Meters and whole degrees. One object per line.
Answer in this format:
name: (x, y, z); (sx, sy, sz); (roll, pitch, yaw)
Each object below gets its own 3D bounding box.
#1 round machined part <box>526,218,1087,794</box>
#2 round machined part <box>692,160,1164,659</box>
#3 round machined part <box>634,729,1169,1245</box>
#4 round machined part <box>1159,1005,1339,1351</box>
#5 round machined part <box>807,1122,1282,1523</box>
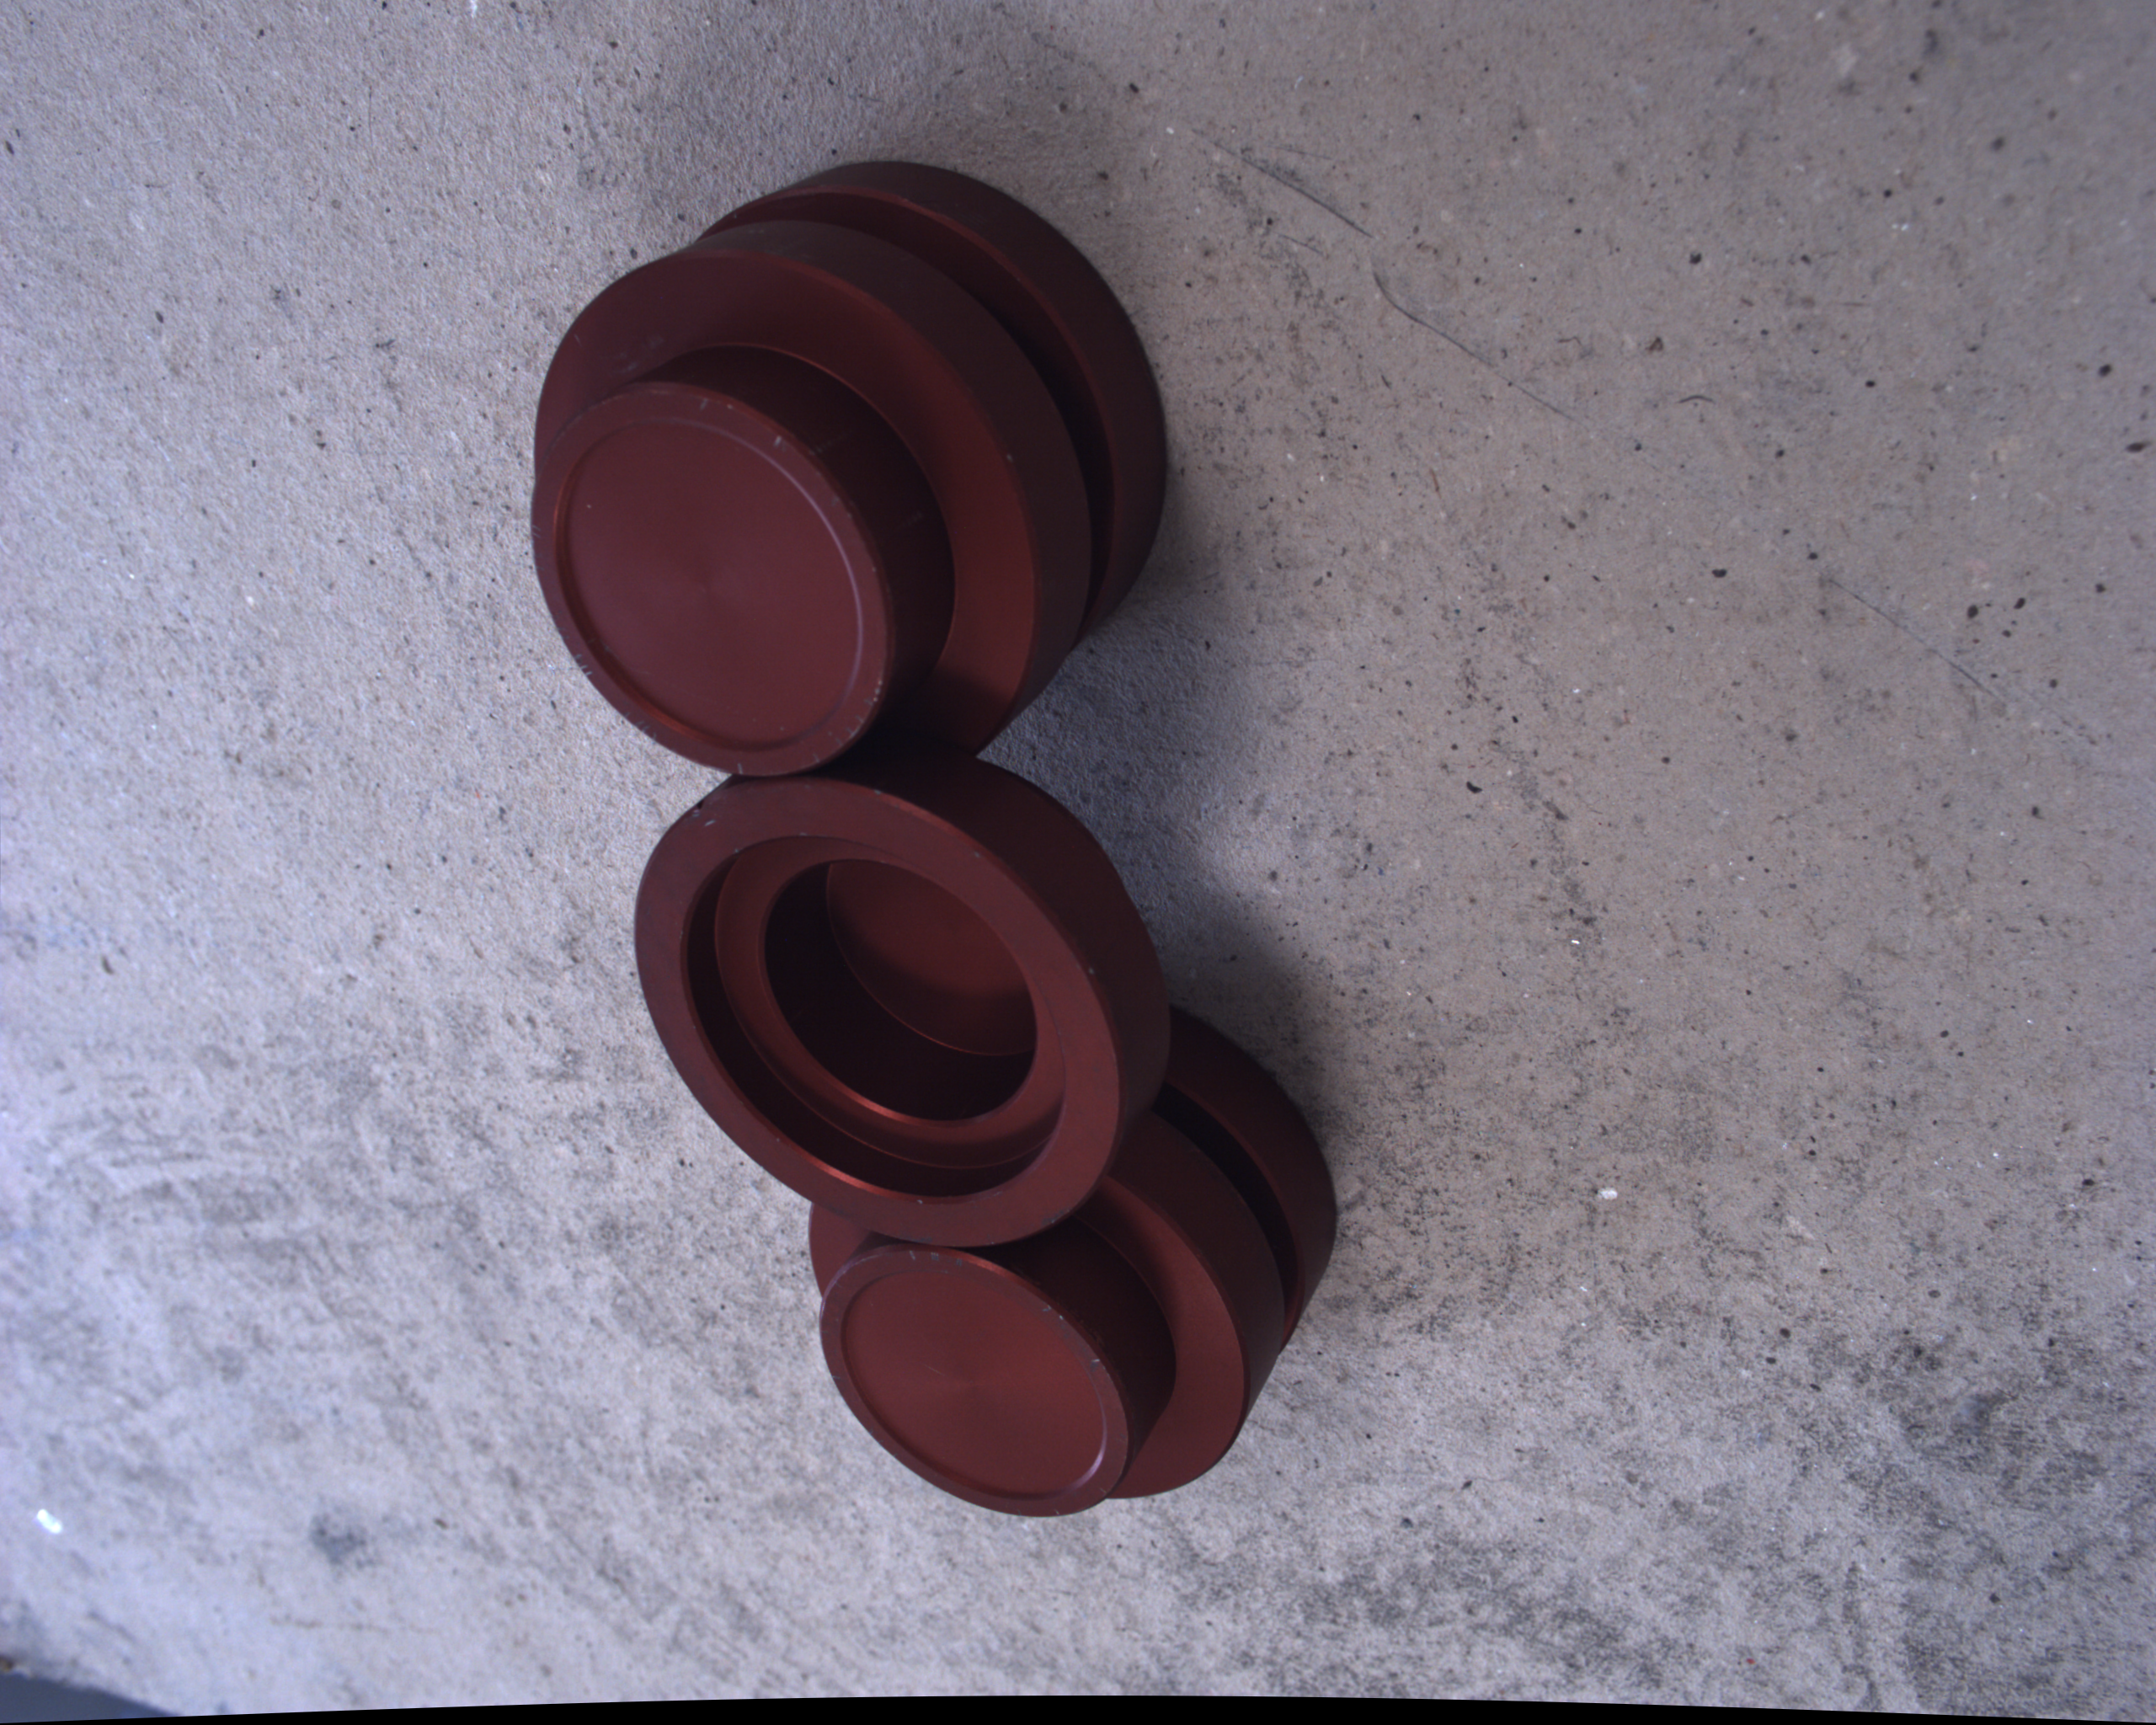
round machined part: (-0.052, -0.054, 0.349); (0.098, 0.042, 0.097); (14, 125, 21)
round machined part: (-0.038, -0.071, 0.373); (0.098, 0.042, 0.097); (15, 125, 22)
round machined part: (-0.028, 0.019, 0.383); (0.098, 0.042, 0.097); (13, 124, 21)
round machined part: (0.002, 0.077, 0.446); (0.098, 0.042, 0.097); (14, 123, 22)
round machined part: (-0.012, 0.092, 0.417); (0.098, 0.042, 0.097); (14, 125, 21)
